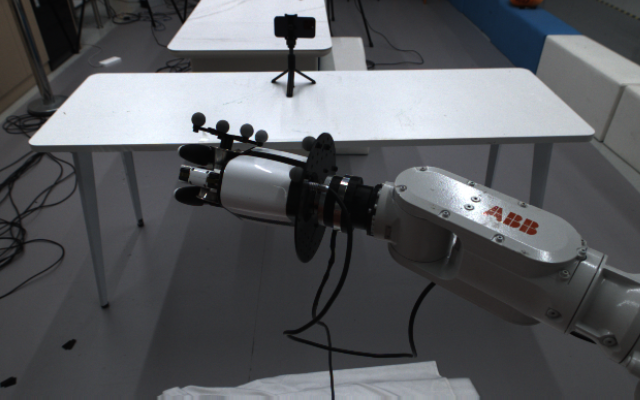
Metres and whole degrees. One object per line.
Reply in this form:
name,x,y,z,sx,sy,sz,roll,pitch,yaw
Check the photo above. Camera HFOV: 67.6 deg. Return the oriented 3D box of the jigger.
jigger,-0.125,-0.031,0.619,0.043,0.071,0.043,14,1,0
